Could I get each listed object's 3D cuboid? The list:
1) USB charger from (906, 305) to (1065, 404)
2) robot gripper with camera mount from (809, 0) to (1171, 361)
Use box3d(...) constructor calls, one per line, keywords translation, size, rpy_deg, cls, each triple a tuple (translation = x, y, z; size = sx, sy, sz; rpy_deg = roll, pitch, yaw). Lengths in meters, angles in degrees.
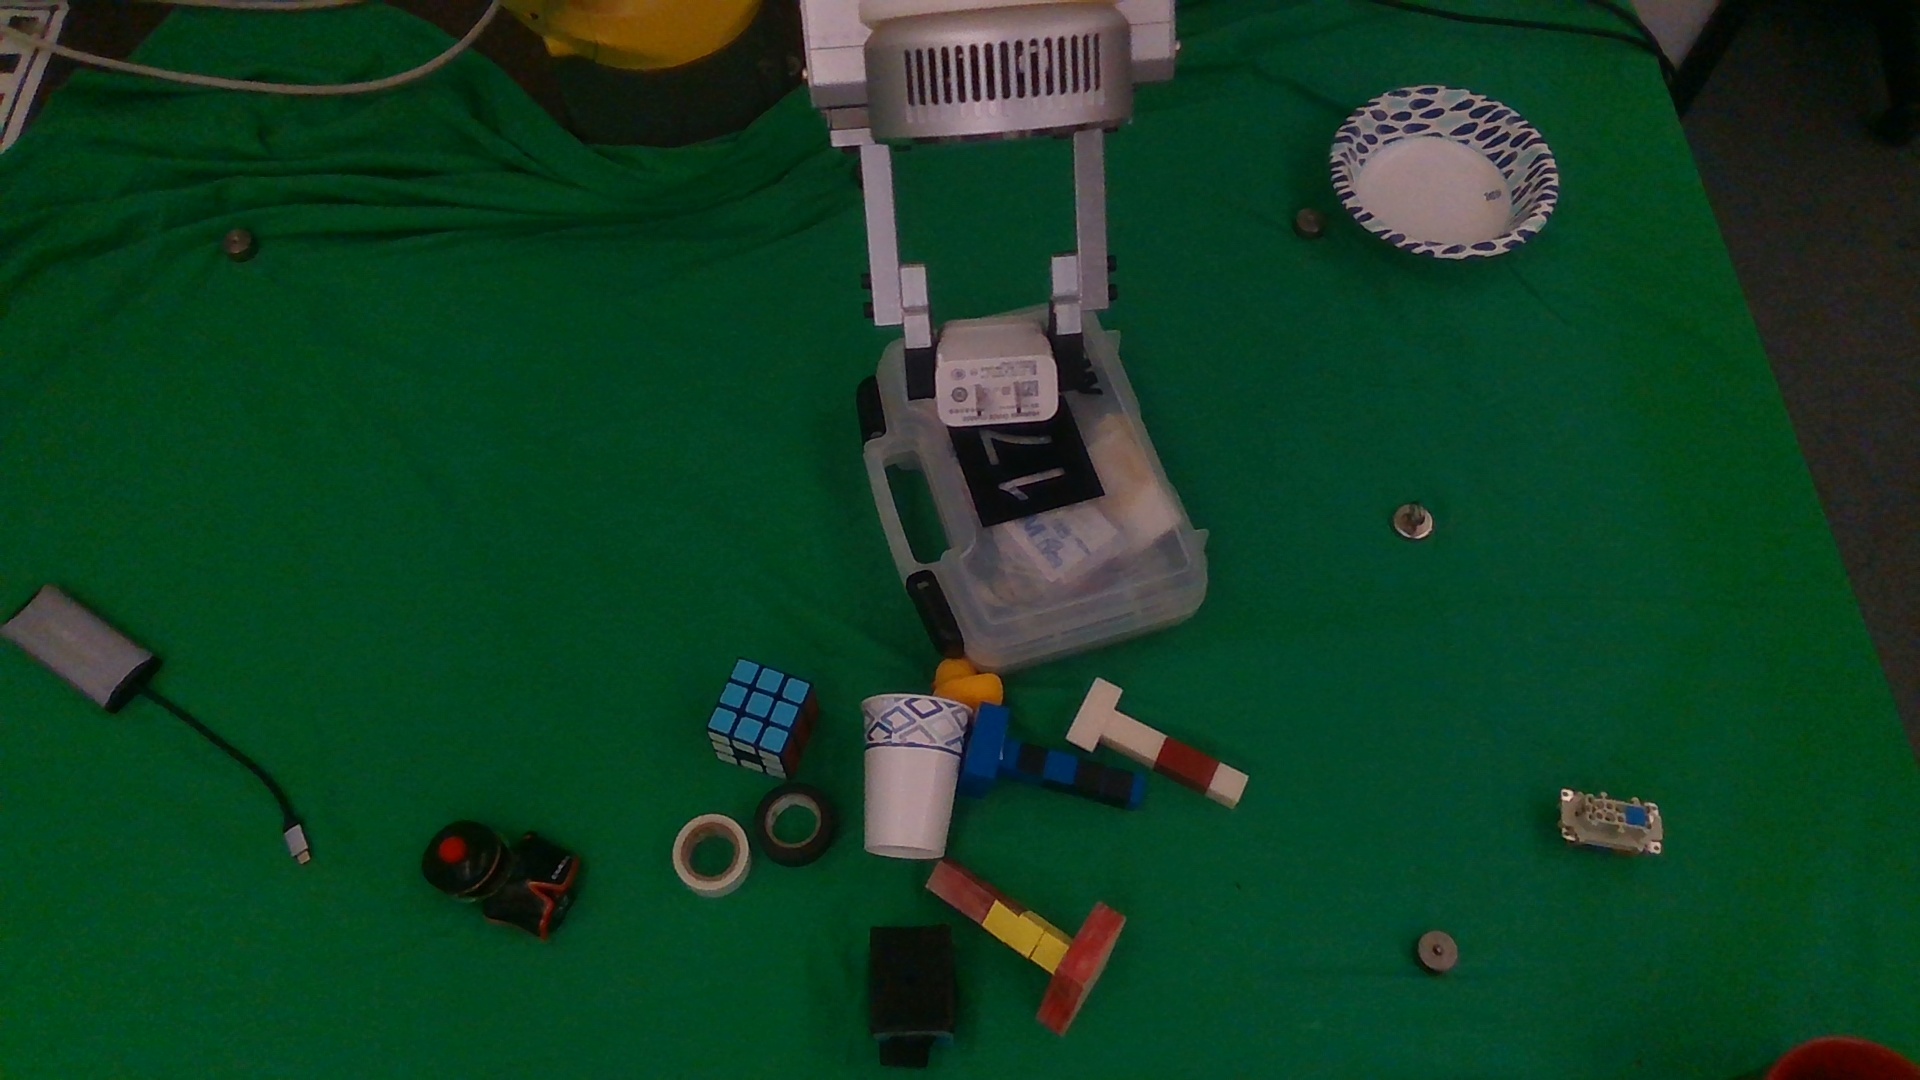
box3d(translation=(0.010, -0.065, 0.481), size=(0.044, 0.076, 0.029), rpy_deg=(1, 103, -15), cls="USB charger")
box3d(translation=(0.010, -0.117, 0.403), size=(0.119, 0.158, 0.193), rpy_deg=(0, 18, -1), cls="robot gripper with camera mount")
